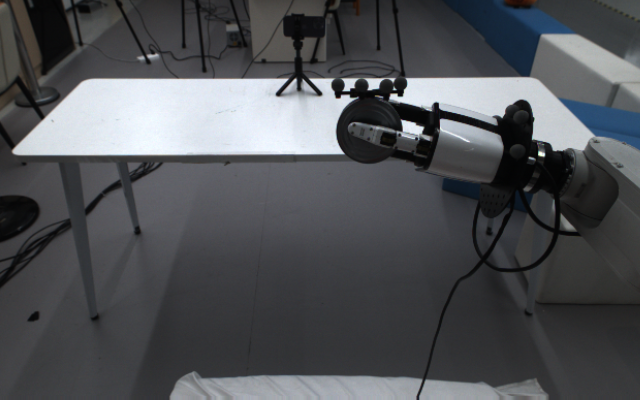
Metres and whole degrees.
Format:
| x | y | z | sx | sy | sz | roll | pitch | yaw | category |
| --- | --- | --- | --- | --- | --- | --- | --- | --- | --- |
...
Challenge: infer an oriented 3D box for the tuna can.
| x | y | z | sx | sy | sz | roll | pitch | yaw | category |
| --- | --- | --- | --- | --- | --- | --- | --- | --- | --- |
| 0.065 | -0.094 | 0.641 | 0.085 | 0.085 | 0.034 | 4 | 18 | 3 | tuna can |
